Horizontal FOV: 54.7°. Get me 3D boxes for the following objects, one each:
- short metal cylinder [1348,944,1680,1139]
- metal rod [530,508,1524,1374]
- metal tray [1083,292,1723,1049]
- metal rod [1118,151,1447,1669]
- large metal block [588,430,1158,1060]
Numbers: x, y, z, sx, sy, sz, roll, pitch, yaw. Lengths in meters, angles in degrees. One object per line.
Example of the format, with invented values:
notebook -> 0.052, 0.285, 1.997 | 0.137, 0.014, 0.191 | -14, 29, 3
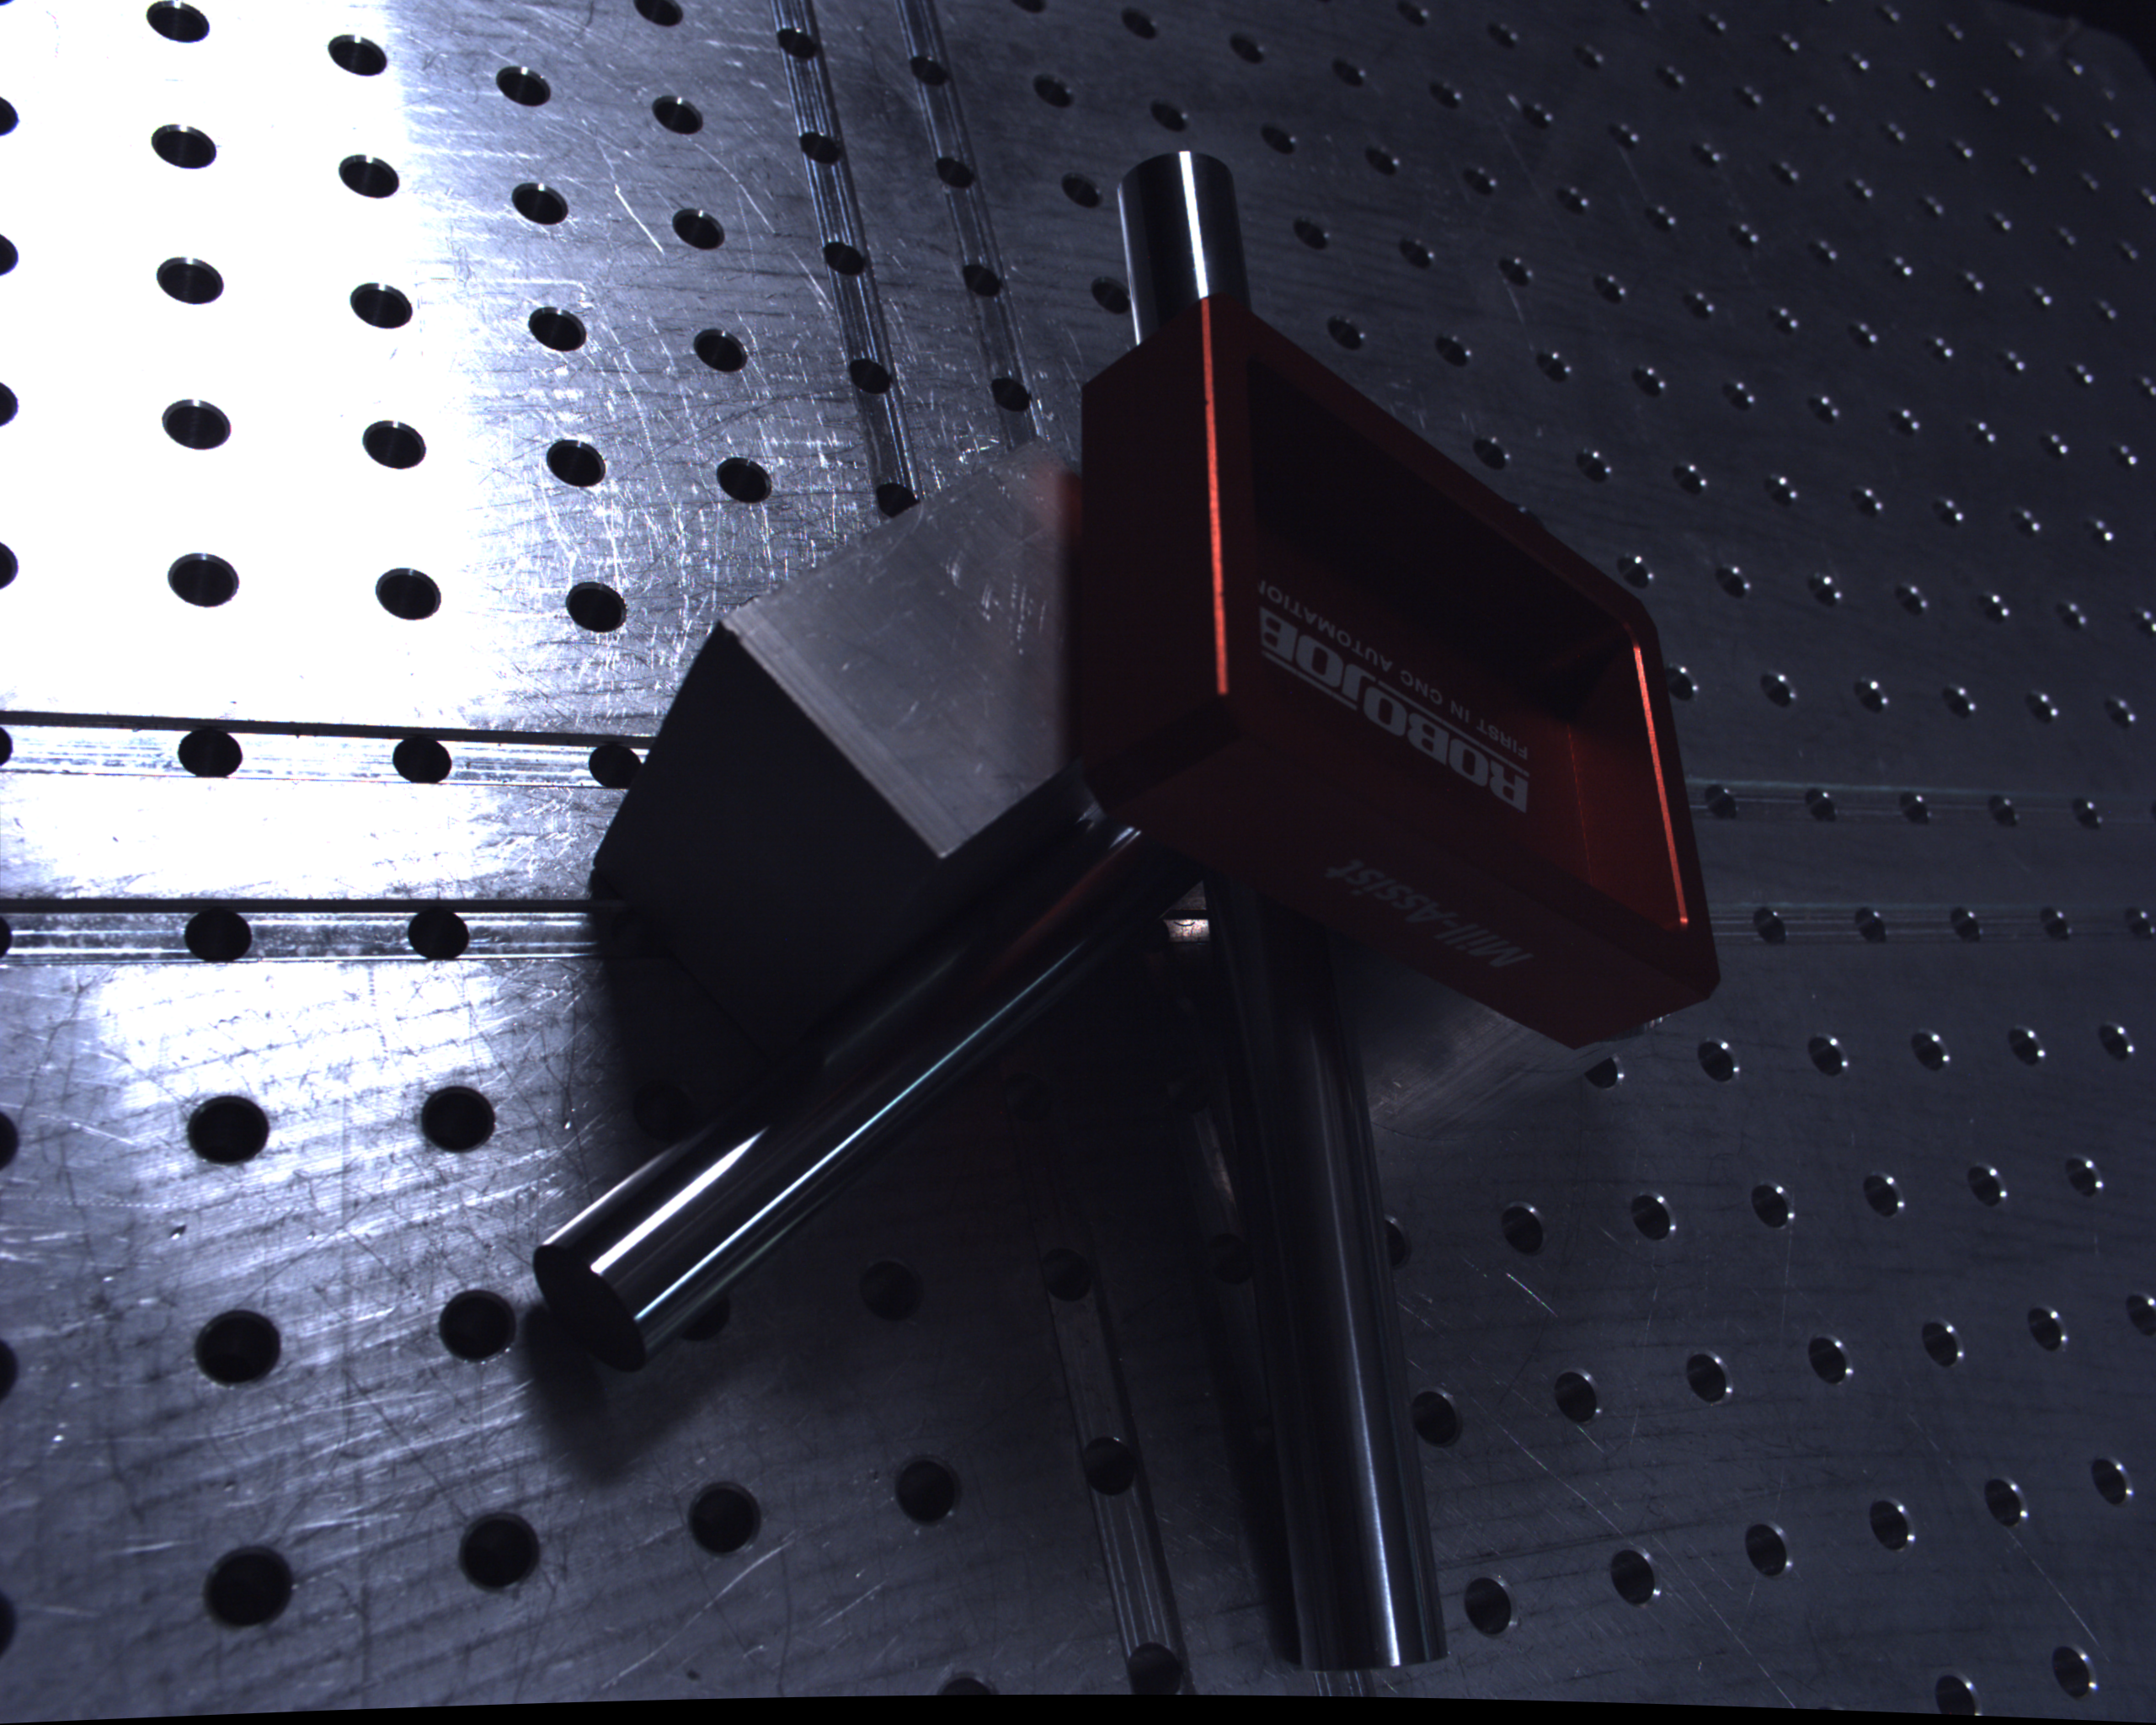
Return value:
short metal cylinder -> 0.081, 0.011, 0.430 | 0.081, 0.050, 0.080 | 14, 56, -21
metal rod -> 0.014, -0.004, 0.420 | 0.025, 0.025, 0.302 | 47, 51, 4
metal tray -> 0.058, -0.030, 0.366 | 0.131, 0.030, 0.090 | 26, 50, -36
metal rod -> 0.036, -0.005, 0.403 | 0.025, 0.025, 0.299 | 4, 69, -27
large metal block -> -0.030, -0.019, 0.369 | 0.050, 0.080, 0.080 | 47, 51, 4
